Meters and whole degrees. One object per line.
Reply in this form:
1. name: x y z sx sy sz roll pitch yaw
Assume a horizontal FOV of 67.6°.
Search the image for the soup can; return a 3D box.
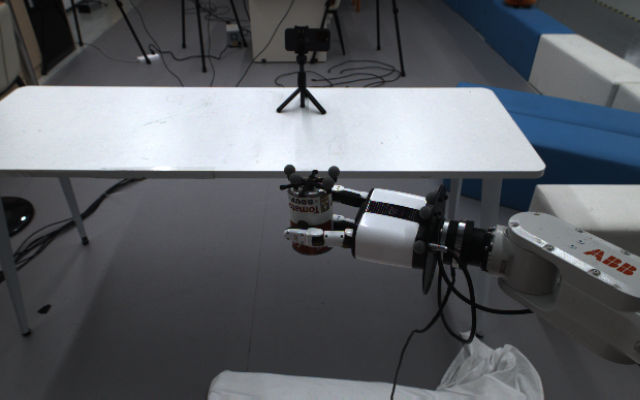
1. soup can: -0.012 0.023 0.740 0.067 0.101 0.067 -3 27 2
